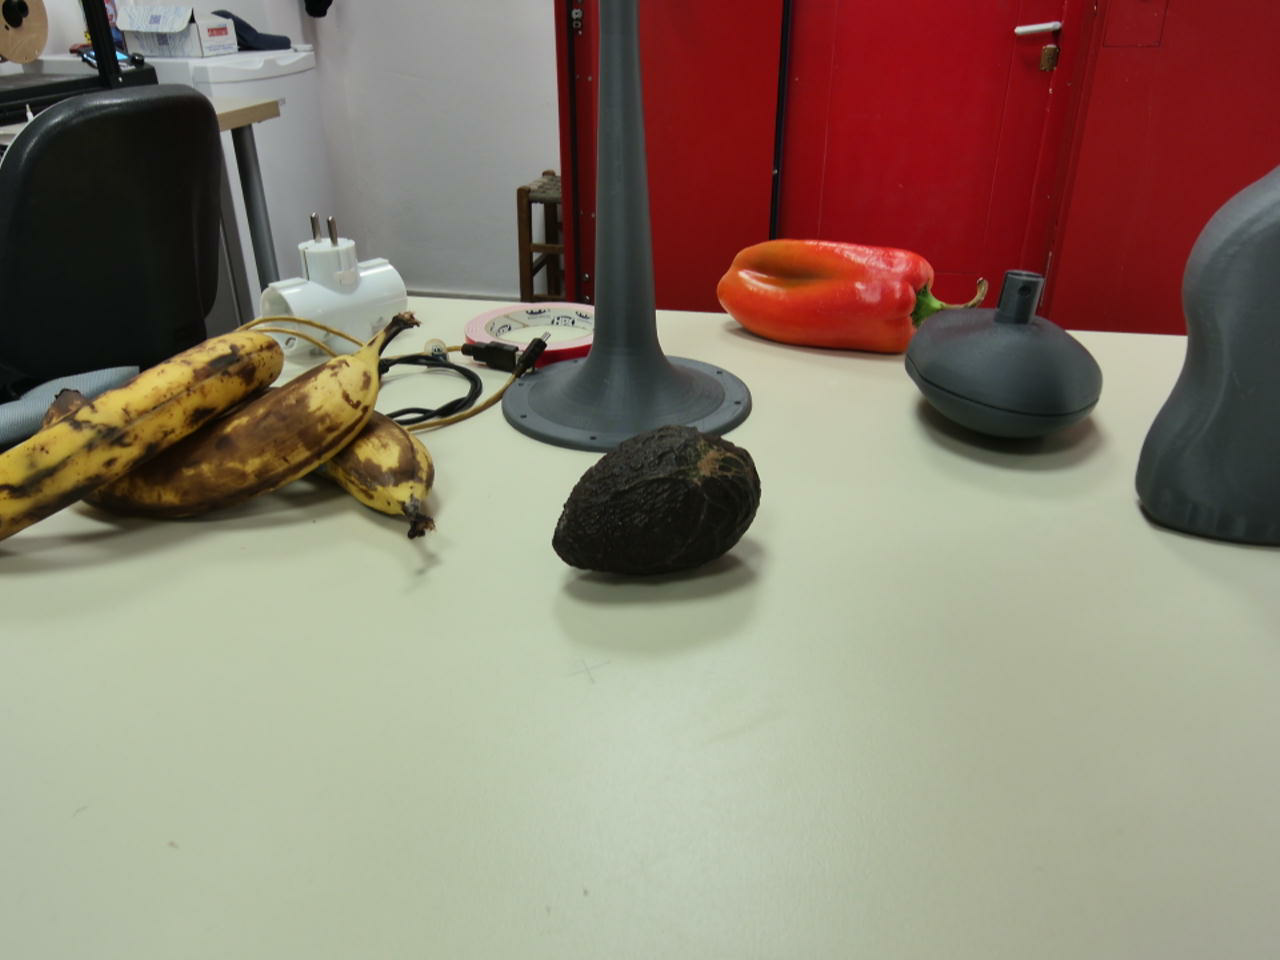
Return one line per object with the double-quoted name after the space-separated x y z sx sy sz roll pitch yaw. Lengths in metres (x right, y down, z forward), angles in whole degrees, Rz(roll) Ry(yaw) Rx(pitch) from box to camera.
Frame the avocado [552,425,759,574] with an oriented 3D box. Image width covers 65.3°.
0.007 0.009 0.430 0.092 0.062 0.062 -5 25 -10 "avocado"
